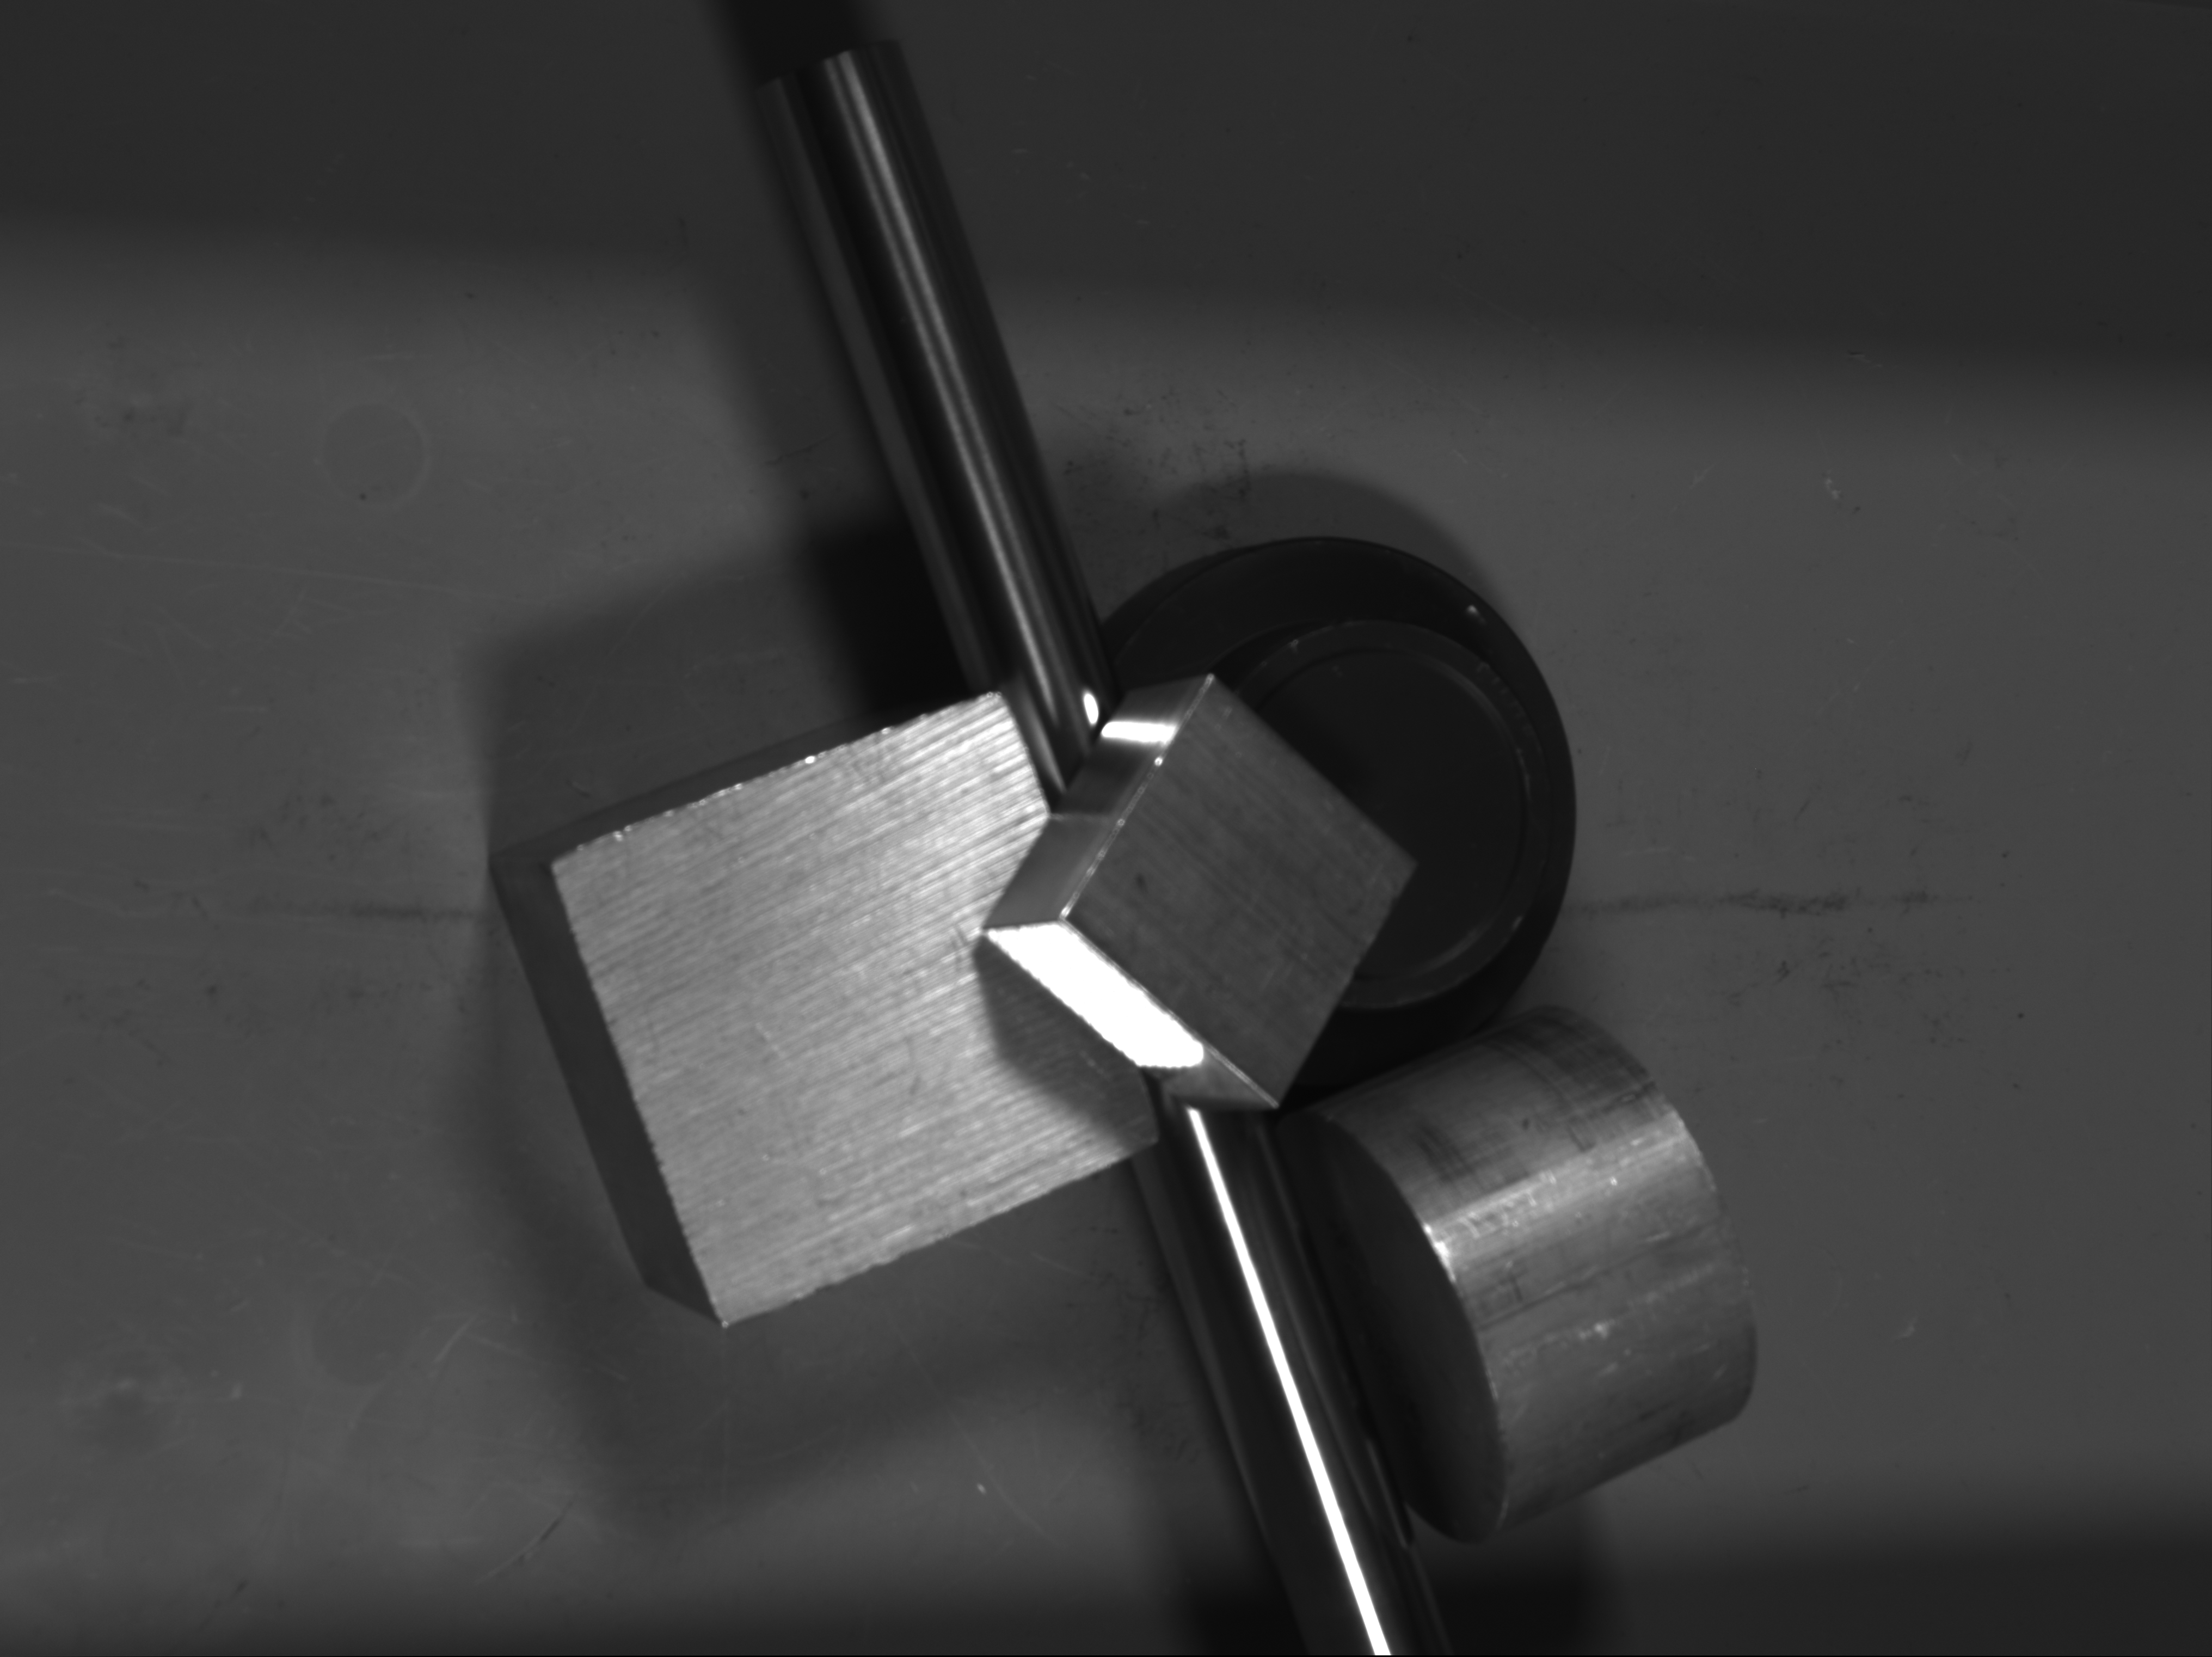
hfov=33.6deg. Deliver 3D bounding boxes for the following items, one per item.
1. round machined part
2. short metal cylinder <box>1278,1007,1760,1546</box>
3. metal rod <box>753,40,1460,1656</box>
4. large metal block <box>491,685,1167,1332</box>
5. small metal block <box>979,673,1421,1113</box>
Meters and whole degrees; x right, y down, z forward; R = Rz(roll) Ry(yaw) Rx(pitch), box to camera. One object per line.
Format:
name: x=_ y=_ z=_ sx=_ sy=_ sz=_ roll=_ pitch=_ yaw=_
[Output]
round machined part: x=0.040 y=-0.003 z=0.647 sx=0.098 sy=0.042 sz=0.098 roll=0 pitch=90 yaw=-20
short metal cylinder: x=0.070 y=0.077 z=0.638 sx=0.050 sy=0.080 sz=0.080 roll=-22 pitch=97 yaw=-19
metal rod: x=0.003 y=0.015 z=0.621 sx=0.025 sy=0.025 sz=0.300 roll=-22 pitch=97 yaw=-19
large metal block: x=-0.047 y=0.028 z=0.609 sx=0.080 sy=0.050 sz=0.080 roll=-22 pitch=97 yaw=-19
small metal block: x=0.016 y=0.011 z=0.597 sx=0.050 sy=0.025 sz=0.050 roll=41 pitch=66 yaw=-22
